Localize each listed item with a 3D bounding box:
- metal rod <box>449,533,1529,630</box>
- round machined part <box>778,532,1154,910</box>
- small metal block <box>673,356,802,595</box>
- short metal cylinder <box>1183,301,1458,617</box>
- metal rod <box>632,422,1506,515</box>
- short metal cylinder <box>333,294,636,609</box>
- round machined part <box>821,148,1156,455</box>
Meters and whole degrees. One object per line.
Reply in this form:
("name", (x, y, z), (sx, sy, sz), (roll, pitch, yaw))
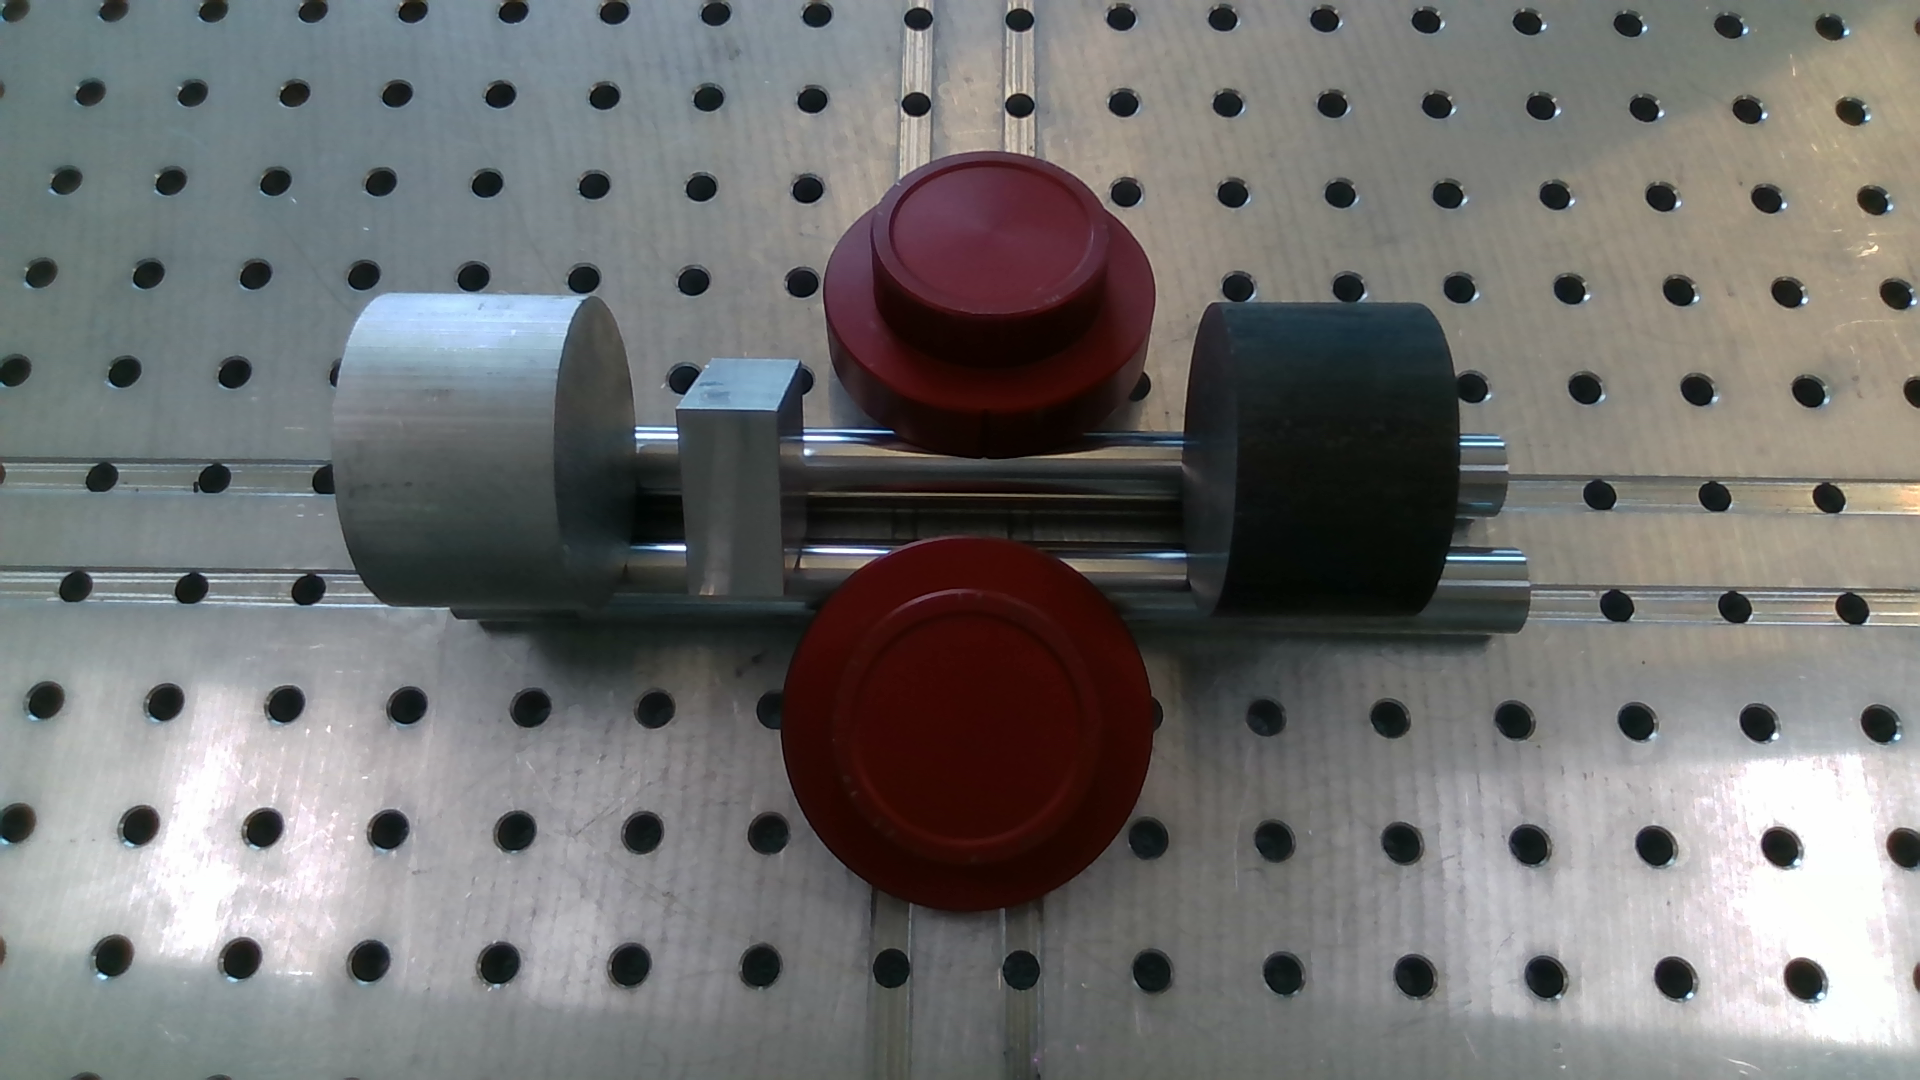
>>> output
("metal rod", (0.007, 0.012, 0.393), (0.300, 0.025, 0.025), (1, 70, 0))
("round machined part", (0.002, 0.047, 0.358), (0.098, 0.042, 0.098), (0, 85, 0))
("small metal block", (-0.057, -0.019, 0.367), (0.025, 0.050, 0.050), (1, 112, 0))
("short metal cylinder", (0.088, -0.020, 0.353), (0.050, 0.080, 0.080), (1, 70, 0))
("metal rod", (0.005, -0.021, 0.405), (0.300, 0.025, 0.025), (1, 70, 0))
("short metal cylinder", (-0.118, -0.022, 0.354), (0.050, 0.080, 0.080), (1, 70, 0))
("round machined part", (0.008, -0.076, 0.403), (0.098, 0.042, 0.098), (0, 56, 0))
